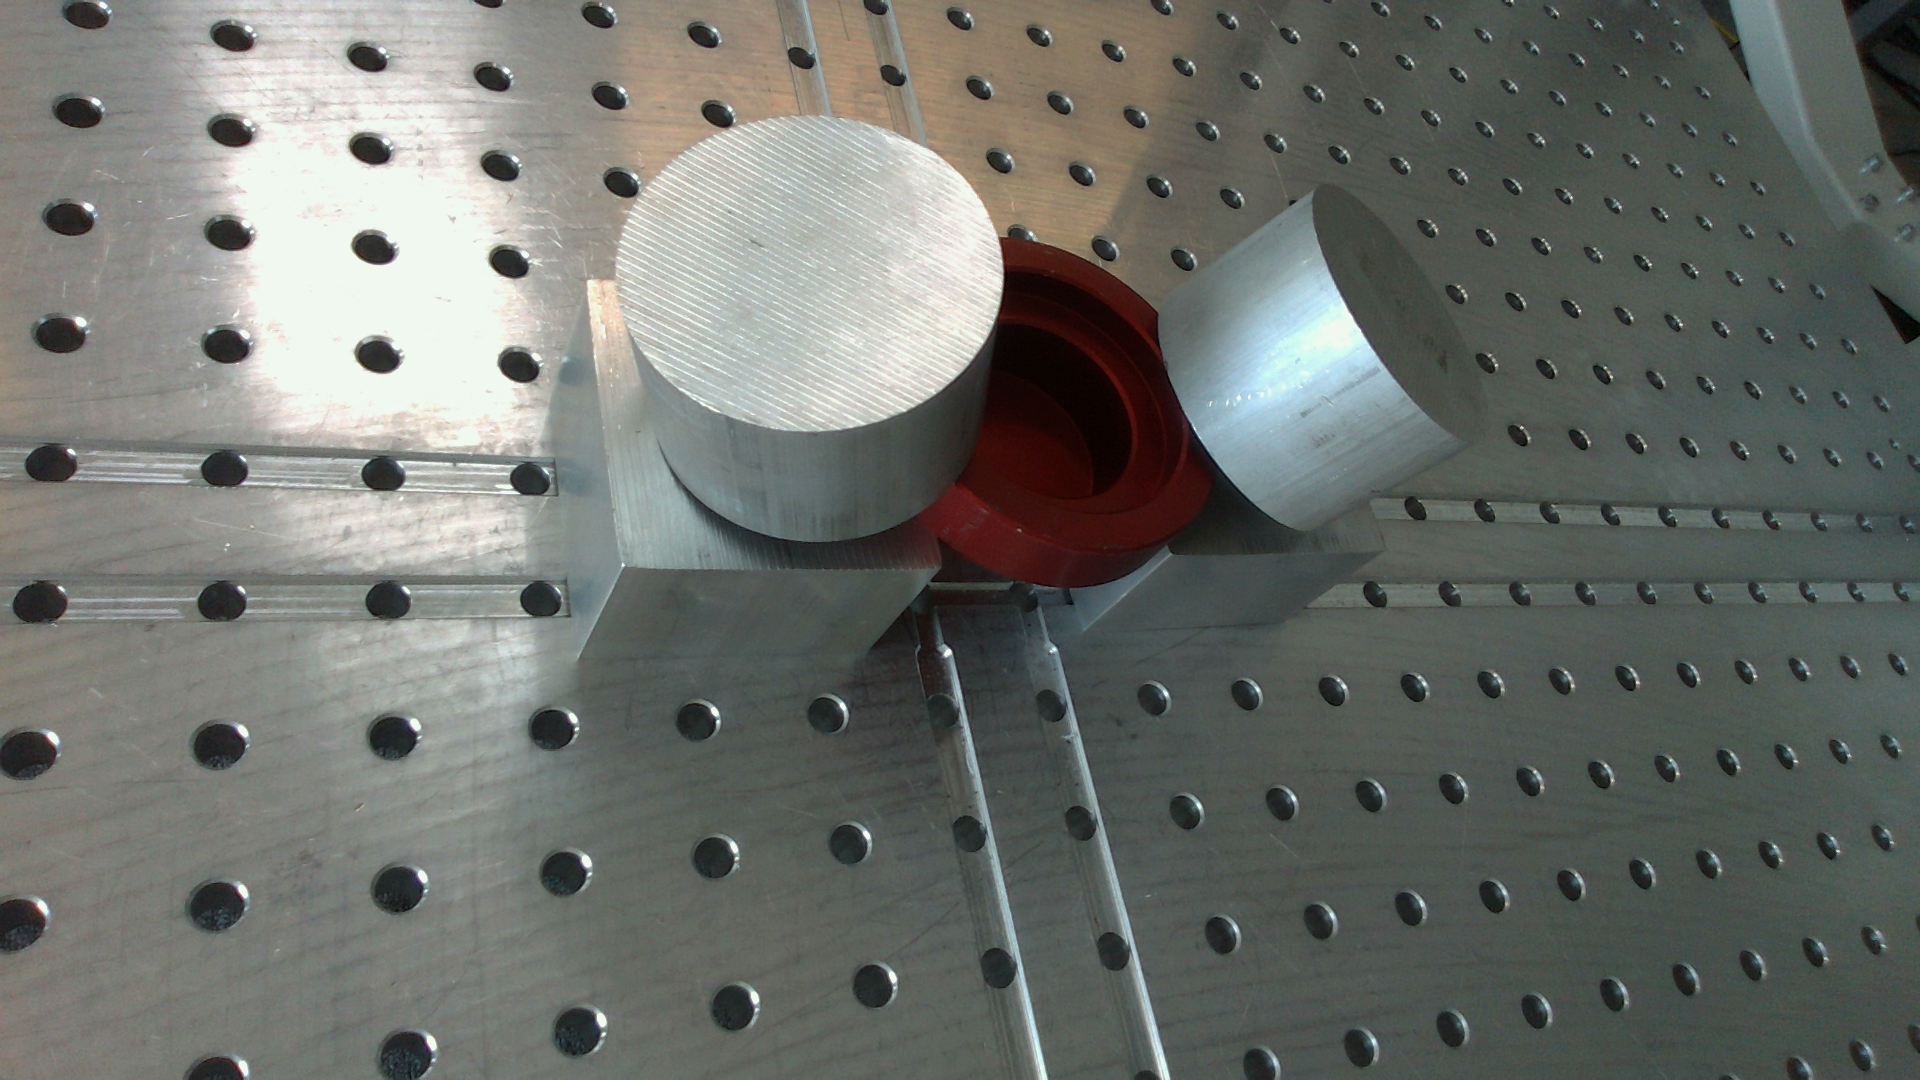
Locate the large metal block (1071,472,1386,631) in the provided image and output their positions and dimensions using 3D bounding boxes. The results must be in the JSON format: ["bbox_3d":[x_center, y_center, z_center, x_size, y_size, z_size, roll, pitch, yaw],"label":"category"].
[{"bbox_3d":[0.073,-0.020,0.428,0.080,0.050,0.080,-1,62,-29],"label":"large metal block"}]

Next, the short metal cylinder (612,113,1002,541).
[{"bbox_3d":[-0.033,-0.047,0.306,0.080,0.050,0.080,2,64,-4],"label":"short metal cylinder"}]

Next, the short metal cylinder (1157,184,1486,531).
[{"bbox_3d":[0.100,-0.050,0.380,0.080,0.050,0.080,31,42,-32],"label":"short metal cylinder"}]

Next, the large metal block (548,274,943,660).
[{"bbox_3d":[-0.058,-0.017,0.355,0.080,0.050,0.080,1,61,-28],"label":"large metal block"}]

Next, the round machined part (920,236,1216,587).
[{"bbox_3d":[0.017,-0.031,0.372,0.098,0.042,0.098,14,56,-21],"label":"round machined part"}]
